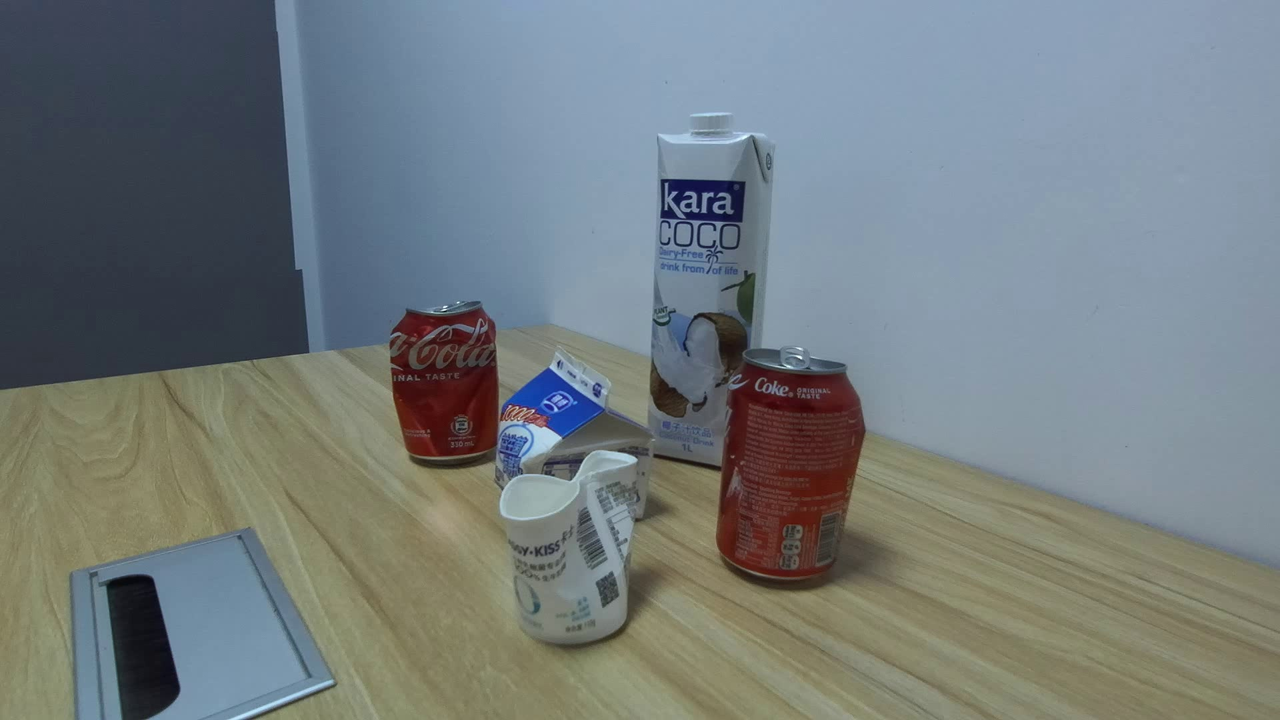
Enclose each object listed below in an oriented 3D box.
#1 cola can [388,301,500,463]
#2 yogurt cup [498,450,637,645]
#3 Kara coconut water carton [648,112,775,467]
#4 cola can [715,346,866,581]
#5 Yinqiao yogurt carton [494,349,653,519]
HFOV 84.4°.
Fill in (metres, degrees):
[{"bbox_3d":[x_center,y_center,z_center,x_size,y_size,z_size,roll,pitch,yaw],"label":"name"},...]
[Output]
[{"bbox_3d":[-0.136,0.014,0.513,0.069,0.112,0.065,3,16,4],"label":"cola can"},{"bbox_3d":[-0.031,0.086,0.328,0.053,0.071,0.075,5,17,6],"label":"yogurt cup"},{"bbox_3d":[0.050,-0.048,0.511,0.077,0.245,0.075,8,14,24],"label":"Kara coconut water carton"},{"bbox_3d":[0.074,0.054,0.375,0.066,0.117,0.072,-12,21,-39],"label":"cola can"},{"bbox_3d":[-0.043,0.046,0.432,0.081,0.097,0.074,0,14,-33],"label":"Yinqiao yogurt carton"}]
